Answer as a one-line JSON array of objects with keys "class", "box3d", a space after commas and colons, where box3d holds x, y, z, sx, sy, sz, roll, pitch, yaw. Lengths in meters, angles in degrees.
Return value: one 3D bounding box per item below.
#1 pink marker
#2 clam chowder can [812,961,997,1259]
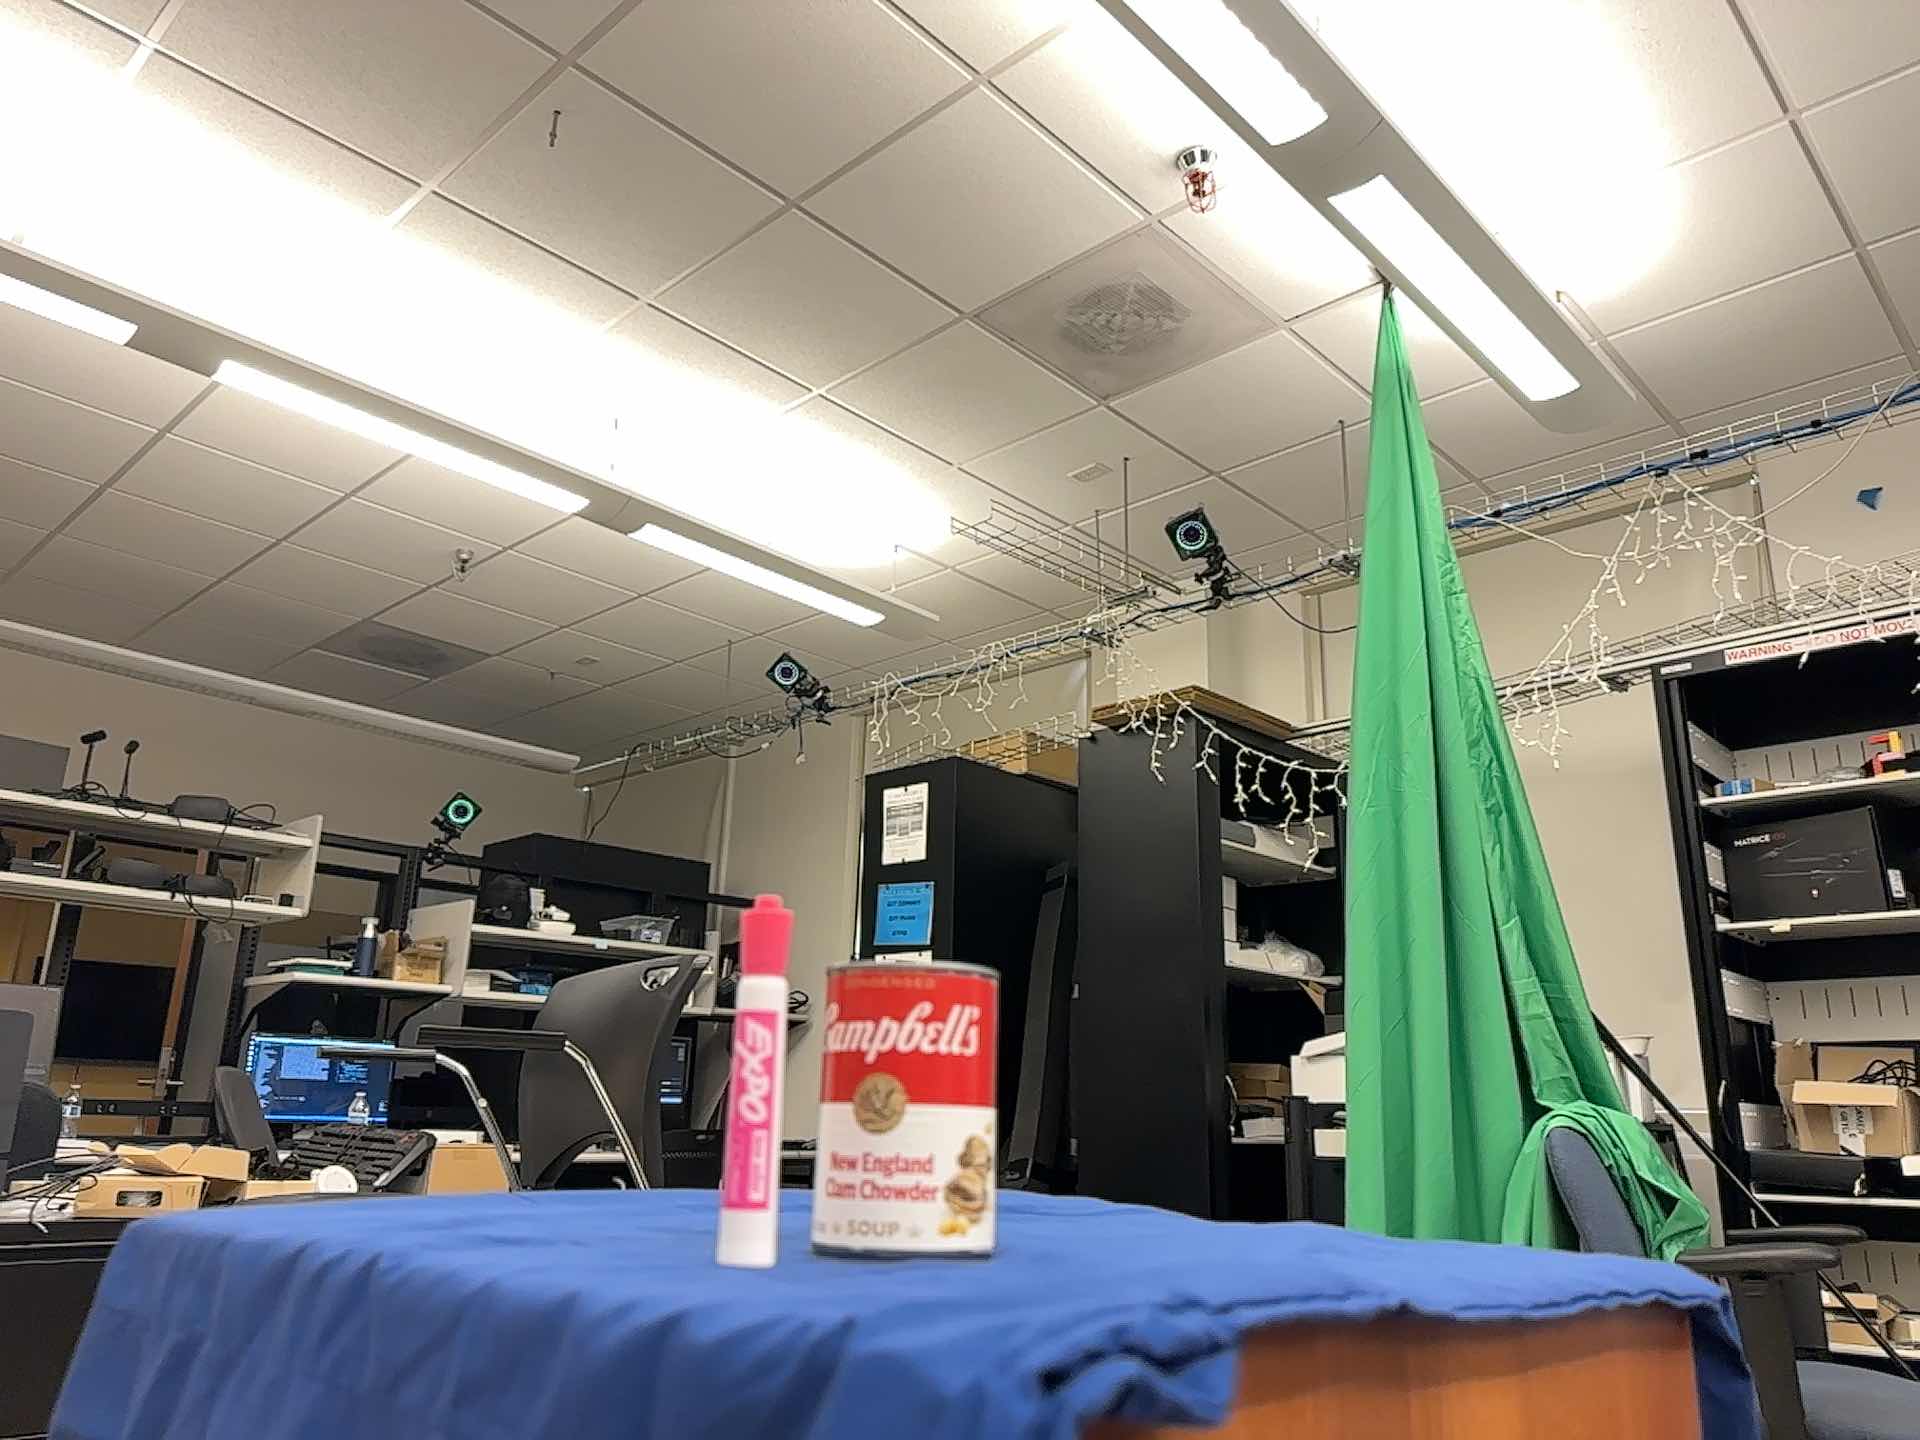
[{"class": "pink marker", "box3d": [-0.070, 0.121, 0.462, 0.020, 0.121, 0.020, 1, -14, 0]}, {"class": "clam chowder can", "box3d": [-0.020, 0.144, 0.507, 0.068, 0.102, 0.068, 1, -14, 0]}]
